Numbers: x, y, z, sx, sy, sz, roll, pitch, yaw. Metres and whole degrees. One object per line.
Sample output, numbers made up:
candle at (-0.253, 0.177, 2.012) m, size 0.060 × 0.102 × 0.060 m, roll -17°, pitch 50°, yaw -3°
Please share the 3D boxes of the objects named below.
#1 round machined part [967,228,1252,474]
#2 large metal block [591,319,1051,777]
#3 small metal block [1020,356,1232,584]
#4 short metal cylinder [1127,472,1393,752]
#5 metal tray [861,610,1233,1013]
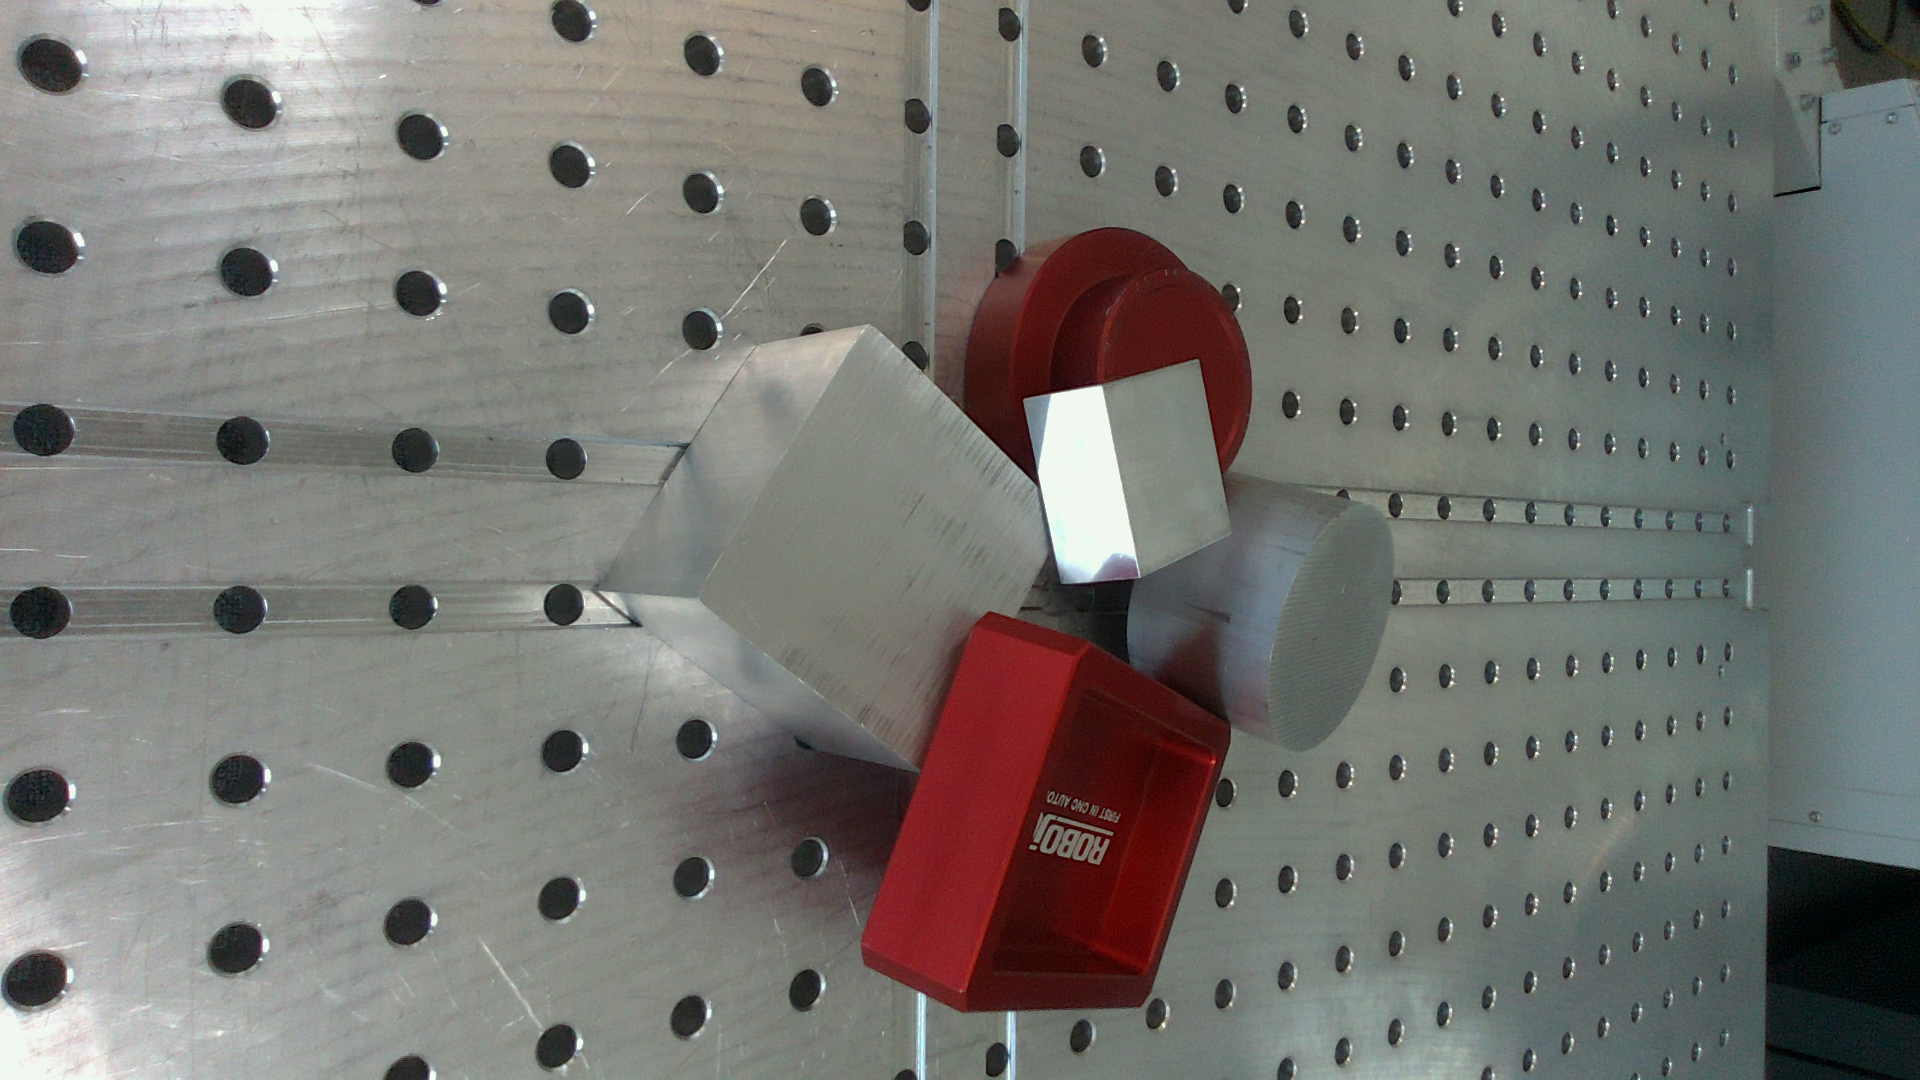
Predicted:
round machined part at (0.052, -0.047, 0.424) m, size 0.098 × 0.042 × 0.098 m, roll 0°, pitch 90°, yaw -40°
large metal block at (-0.031, 0.003, 0.350) m, size 0.080 × 0.050 × 0.080 m, roll 43°, pitch 64°, yaw -31°
small metal block at (0.046, -0.019, 0.370) m, size 0.050 × 0.025 × 0.050 m, roll -20°, pitch 100°, yaw -49°
short metal cylinder at (0.097, 0.022, 0.442) m, size 0.080 × 0.050 × 0.080 m, roll -23°, pitch 121°, yaw -45°
metal tray at (0.031, 0.079, 0.377) m, size 0.130 × 0.030 × 0.090 m, roll 32°, pitch 76°, yaw -59°
